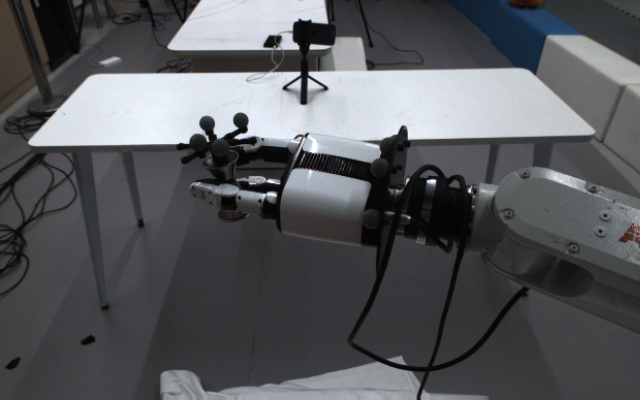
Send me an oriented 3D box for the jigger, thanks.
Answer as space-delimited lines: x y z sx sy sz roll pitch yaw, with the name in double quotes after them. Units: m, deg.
-0.098 -0.017 0.538 0.043 0.071 0.043 -9 31 5 "jigger"
